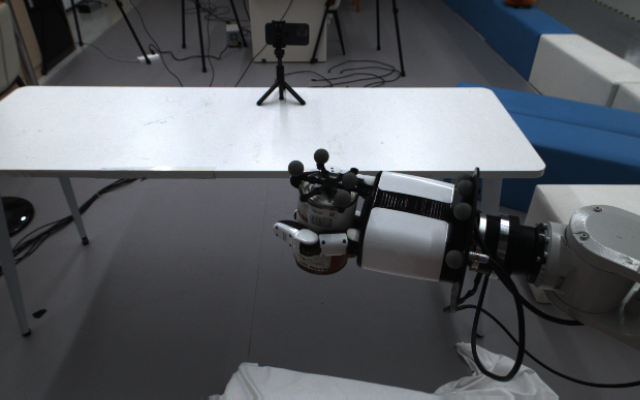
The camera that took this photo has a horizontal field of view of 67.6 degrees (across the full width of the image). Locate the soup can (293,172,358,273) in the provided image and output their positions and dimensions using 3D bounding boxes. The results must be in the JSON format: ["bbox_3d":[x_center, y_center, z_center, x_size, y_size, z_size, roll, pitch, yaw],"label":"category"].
[{"bbox_3d":[0.007,0.028,0.559,0.067,0.101,0.067,5,36,-4],"label":"soup can"}]
